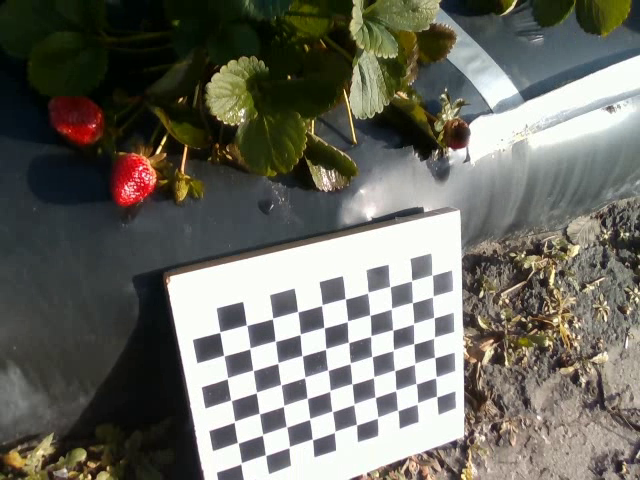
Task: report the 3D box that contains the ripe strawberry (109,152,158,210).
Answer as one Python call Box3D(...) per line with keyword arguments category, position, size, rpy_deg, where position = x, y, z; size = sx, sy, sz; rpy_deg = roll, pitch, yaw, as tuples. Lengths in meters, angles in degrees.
Box3D(category="ripe strawberry", position=(-0.162, -0.051, 0.456), size=(0.043, 0.053, 0.038), rpy_deg=(35, -41, -24))

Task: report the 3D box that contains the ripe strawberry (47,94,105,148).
Box3D(category="ripe strawberry", position=(-0.206, -0.105, 0.464), size=(0.054, 0.048, 0.039), rpy_deg=(0, 13, -44))
